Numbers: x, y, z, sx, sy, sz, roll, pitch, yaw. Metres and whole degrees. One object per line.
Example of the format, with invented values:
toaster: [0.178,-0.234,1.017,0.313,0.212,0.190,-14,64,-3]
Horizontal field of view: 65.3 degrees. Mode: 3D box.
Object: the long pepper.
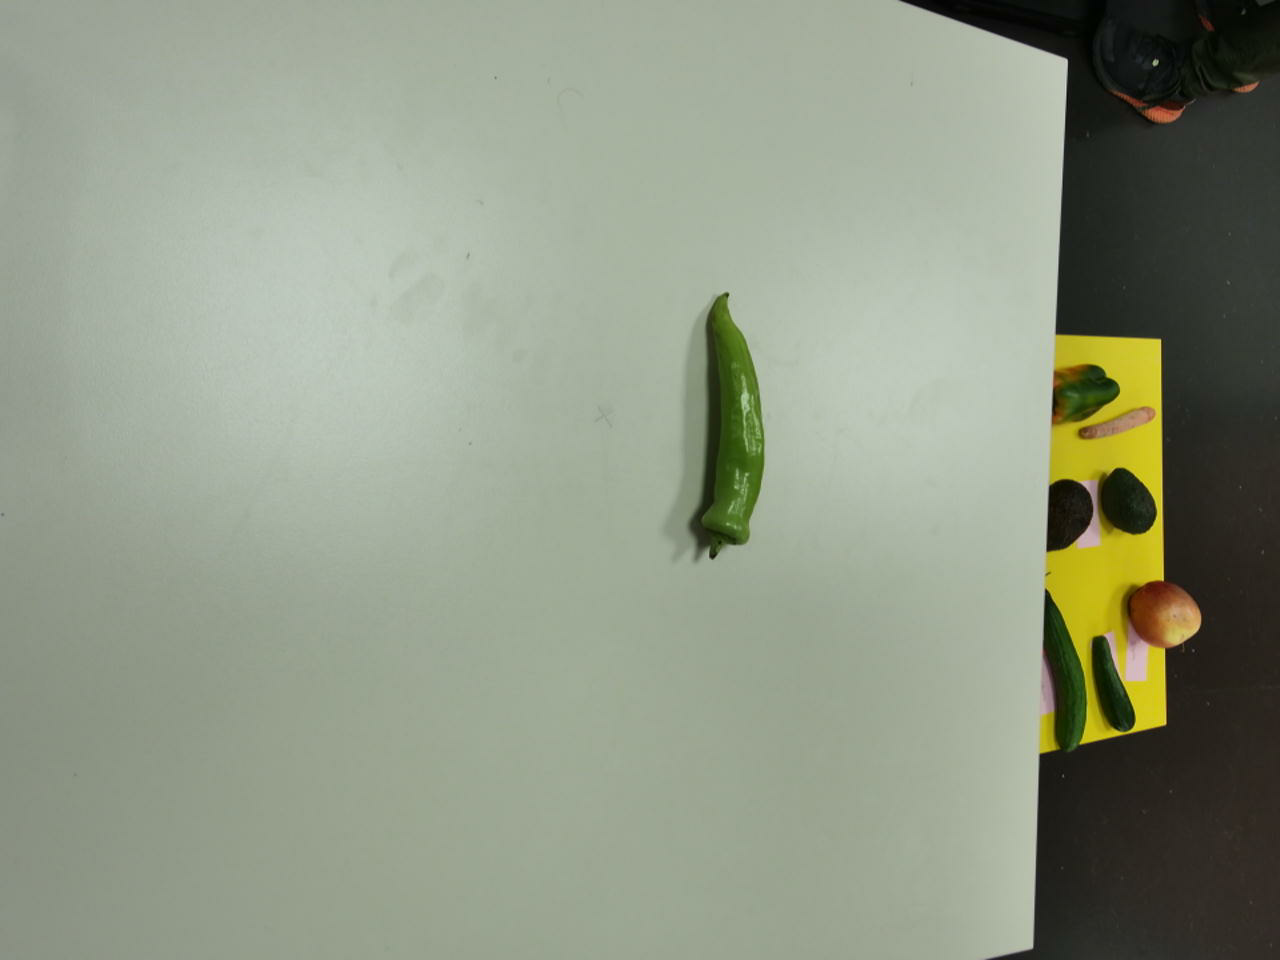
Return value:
long pepper: [0.071,-0.041,0.728,0.046,0.038,0.197,6,87,-28]
